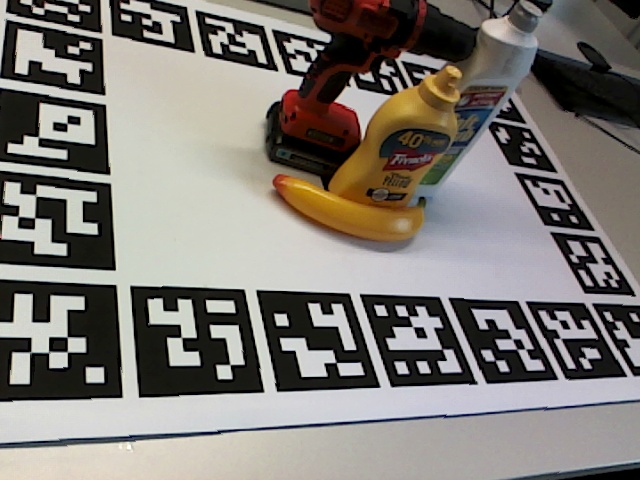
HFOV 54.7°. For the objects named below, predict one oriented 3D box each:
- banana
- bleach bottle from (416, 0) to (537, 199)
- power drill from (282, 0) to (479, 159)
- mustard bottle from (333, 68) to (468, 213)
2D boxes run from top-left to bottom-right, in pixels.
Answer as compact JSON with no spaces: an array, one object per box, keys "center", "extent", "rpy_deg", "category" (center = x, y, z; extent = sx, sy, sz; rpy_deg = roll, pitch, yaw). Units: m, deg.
[{"center":[0.049,-0.030,0.693],"extent":[0.196,0.039,0.074],"rpy_deg":[7,50,-22],"category":"banana"},{"center":[0.154,-0.159,0.708],"extent":[0.102,0.251,0.068],"rpy_deg":[7,44,-25],"category":"bleach bottle"},{"center":[0.052,-0.175,0.668],"extent":[0.183,0.187,0.057],"rpy_deg":[16,45,-20],"category":"power drill"},{"center":[0.095,-0.103,0.660],"extent":[0.095,0.192,0.059],"rpy_deg":[6,50,-28],"category":"mustard bottle"}]
